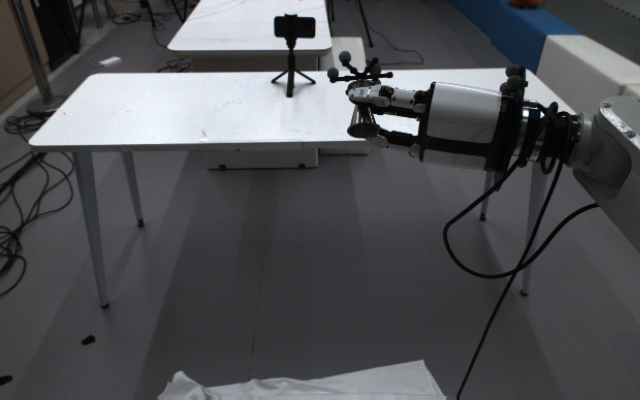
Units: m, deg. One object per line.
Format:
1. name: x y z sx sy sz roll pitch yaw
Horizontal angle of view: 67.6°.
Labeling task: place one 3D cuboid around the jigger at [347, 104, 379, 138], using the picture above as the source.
1. jigger: 0.058 -0.127 0.662 0.043 0.043 0.071 1 70 -2
